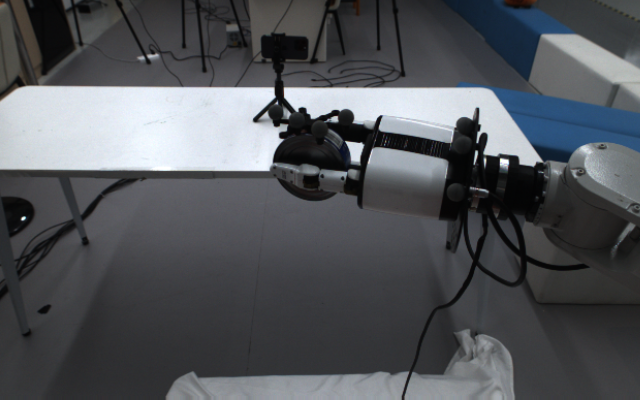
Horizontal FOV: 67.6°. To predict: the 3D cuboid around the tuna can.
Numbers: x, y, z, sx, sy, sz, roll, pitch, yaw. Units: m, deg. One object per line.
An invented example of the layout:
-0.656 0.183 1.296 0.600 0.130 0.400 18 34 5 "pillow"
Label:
-0.007 -0.045 0.558 0.085 0.085 0.034 10 34 12 "tuna can"
